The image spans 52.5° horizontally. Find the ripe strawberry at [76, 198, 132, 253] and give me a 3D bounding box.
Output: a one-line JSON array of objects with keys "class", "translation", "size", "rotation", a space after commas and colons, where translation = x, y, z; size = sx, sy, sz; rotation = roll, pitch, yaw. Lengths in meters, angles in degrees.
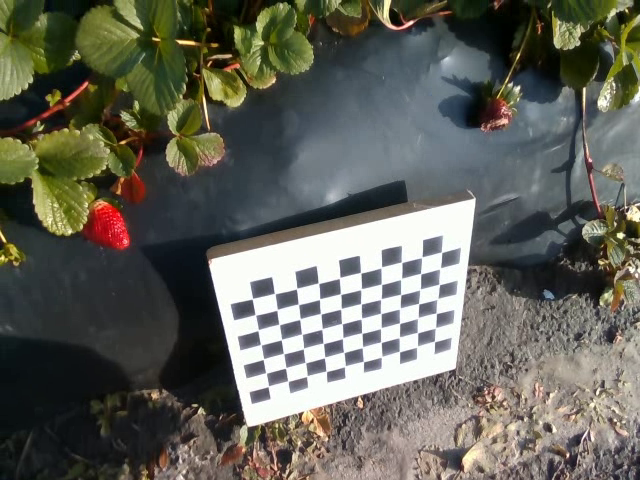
[{"class": "ripe strawberry", "translation": [-0.193, -0.010, 0.570], "size": [0.056, 0.041, 0.040], "rotation": [42, 24, 9]}]
